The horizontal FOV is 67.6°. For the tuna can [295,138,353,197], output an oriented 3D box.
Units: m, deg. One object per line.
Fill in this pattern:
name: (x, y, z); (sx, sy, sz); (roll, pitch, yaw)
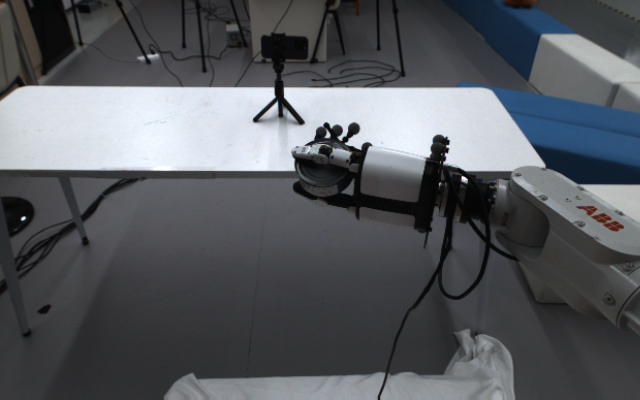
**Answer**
tuna can: (0.008, -0.049, 0.714); (0.085, 0.034, 0.085); (-4, 56, 6)
